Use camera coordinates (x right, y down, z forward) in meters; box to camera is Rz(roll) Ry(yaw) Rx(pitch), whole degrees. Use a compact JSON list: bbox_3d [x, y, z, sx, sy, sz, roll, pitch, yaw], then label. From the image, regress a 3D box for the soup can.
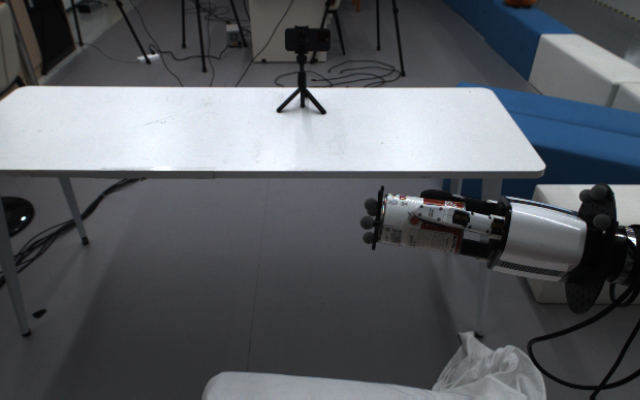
[{"bbox_3d":[0.133,0.029,0.626,0.101,0.067,0.067,7,35,10],"label":"soup can"}]
